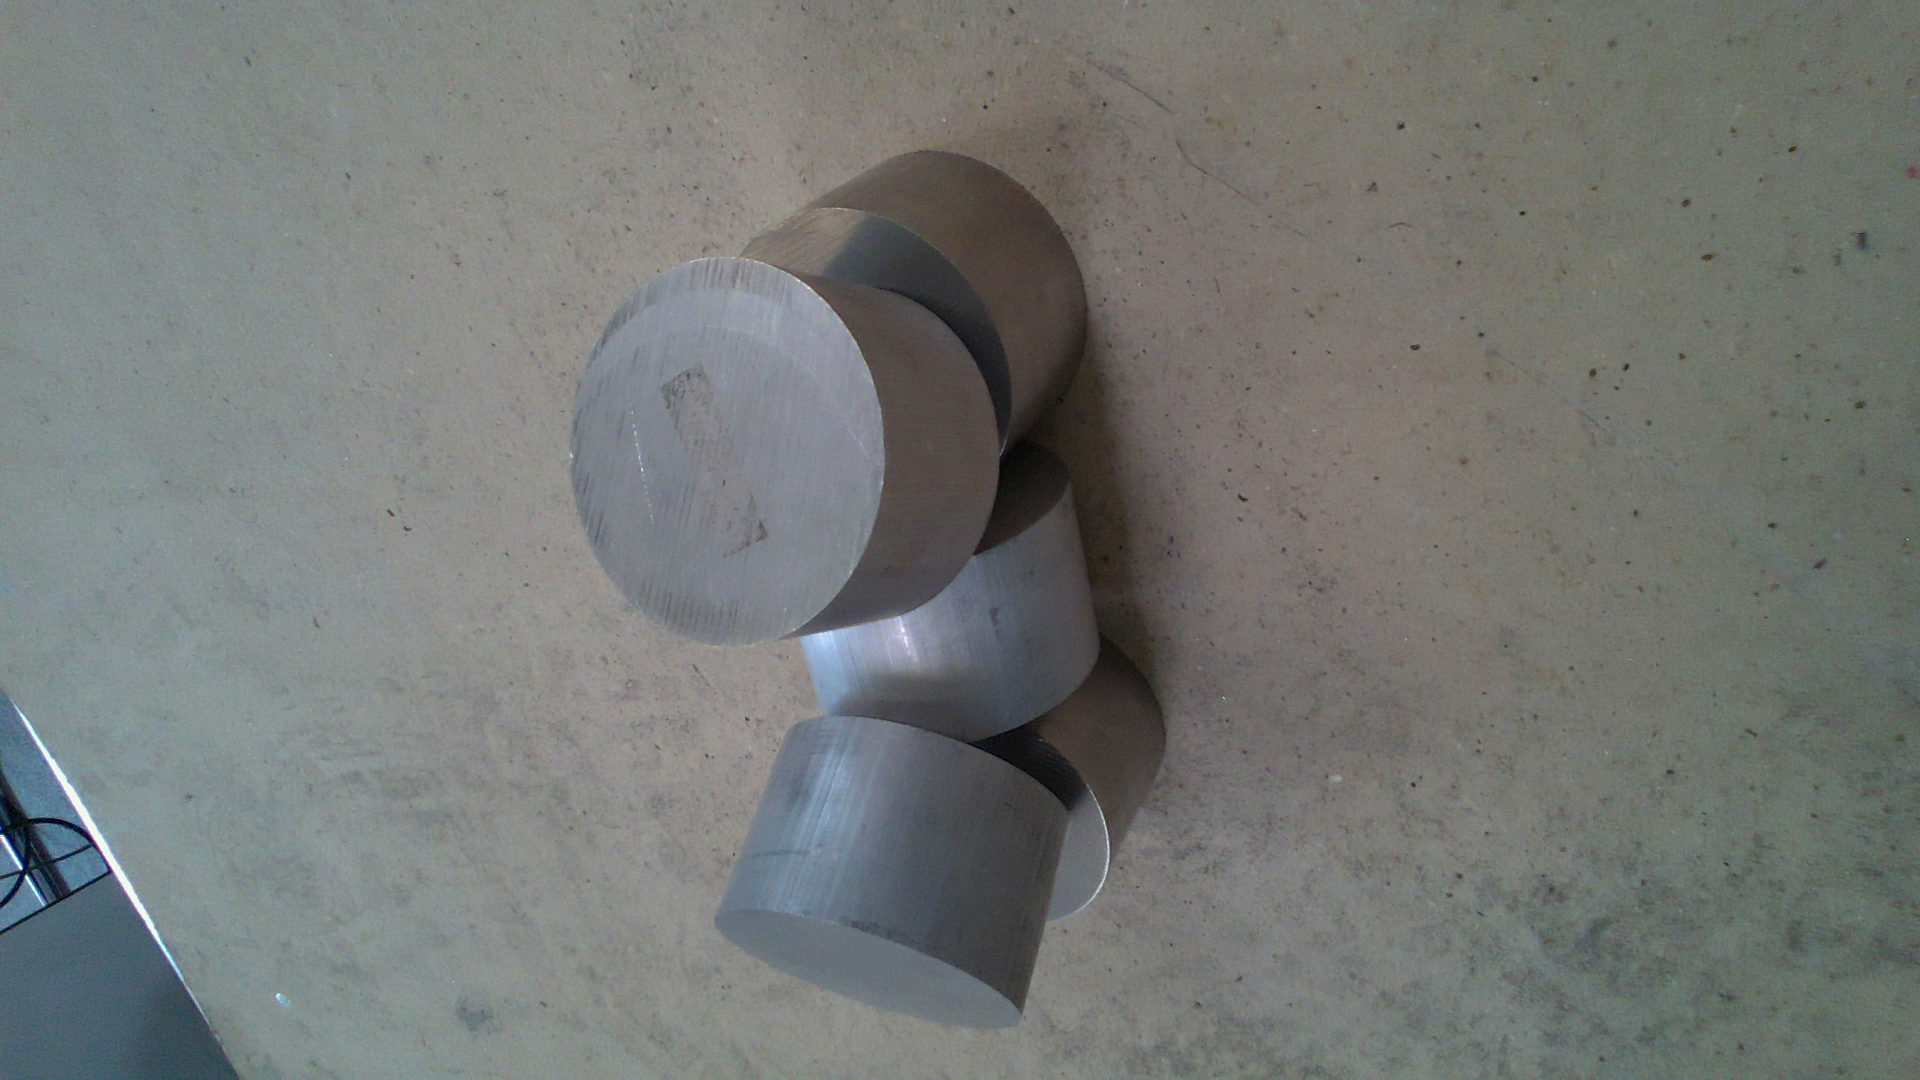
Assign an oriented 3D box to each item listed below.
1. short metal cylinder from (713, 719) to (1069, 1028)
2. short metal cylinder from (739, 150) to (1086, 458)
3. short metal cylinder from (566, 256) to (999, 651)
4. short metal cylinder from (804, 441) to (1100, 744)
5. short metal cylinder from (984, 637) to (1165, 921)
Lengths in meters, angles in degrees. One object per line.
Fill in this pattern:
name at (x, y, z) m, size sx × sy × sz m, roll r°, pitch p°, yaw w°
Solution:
short metal cylinder at (-0.016, 0.087, 0.354) m, size 0.080 × 0.050 × 0.080 m, roll 14°, pitch 151°, yaw 8°
short metal cylinder at (-0.014, -0.053, 0.352) m, size 0.080 × 0.050 × 0.080 m, roll 13°, pitch 124°, yaw 21°
short metal cylinder at (-0.038, -0.019, 0.302) m, size 0.080 × 0.050 × 0.080 m, roll 2°, pitch 94°, yaw 27°
short metal cylinder at (-0.006, 0.012, 0.369) m, size 0.080 × 0.080 × 0.050 m, roll 2°, pitch 119°, yaw 28°
short metal cylinder at (0.015, 0.066, 0.410) m, size 0.080 × 0.050 × 0.080 m, roll 13°, pitch 124°, yaw 21°
